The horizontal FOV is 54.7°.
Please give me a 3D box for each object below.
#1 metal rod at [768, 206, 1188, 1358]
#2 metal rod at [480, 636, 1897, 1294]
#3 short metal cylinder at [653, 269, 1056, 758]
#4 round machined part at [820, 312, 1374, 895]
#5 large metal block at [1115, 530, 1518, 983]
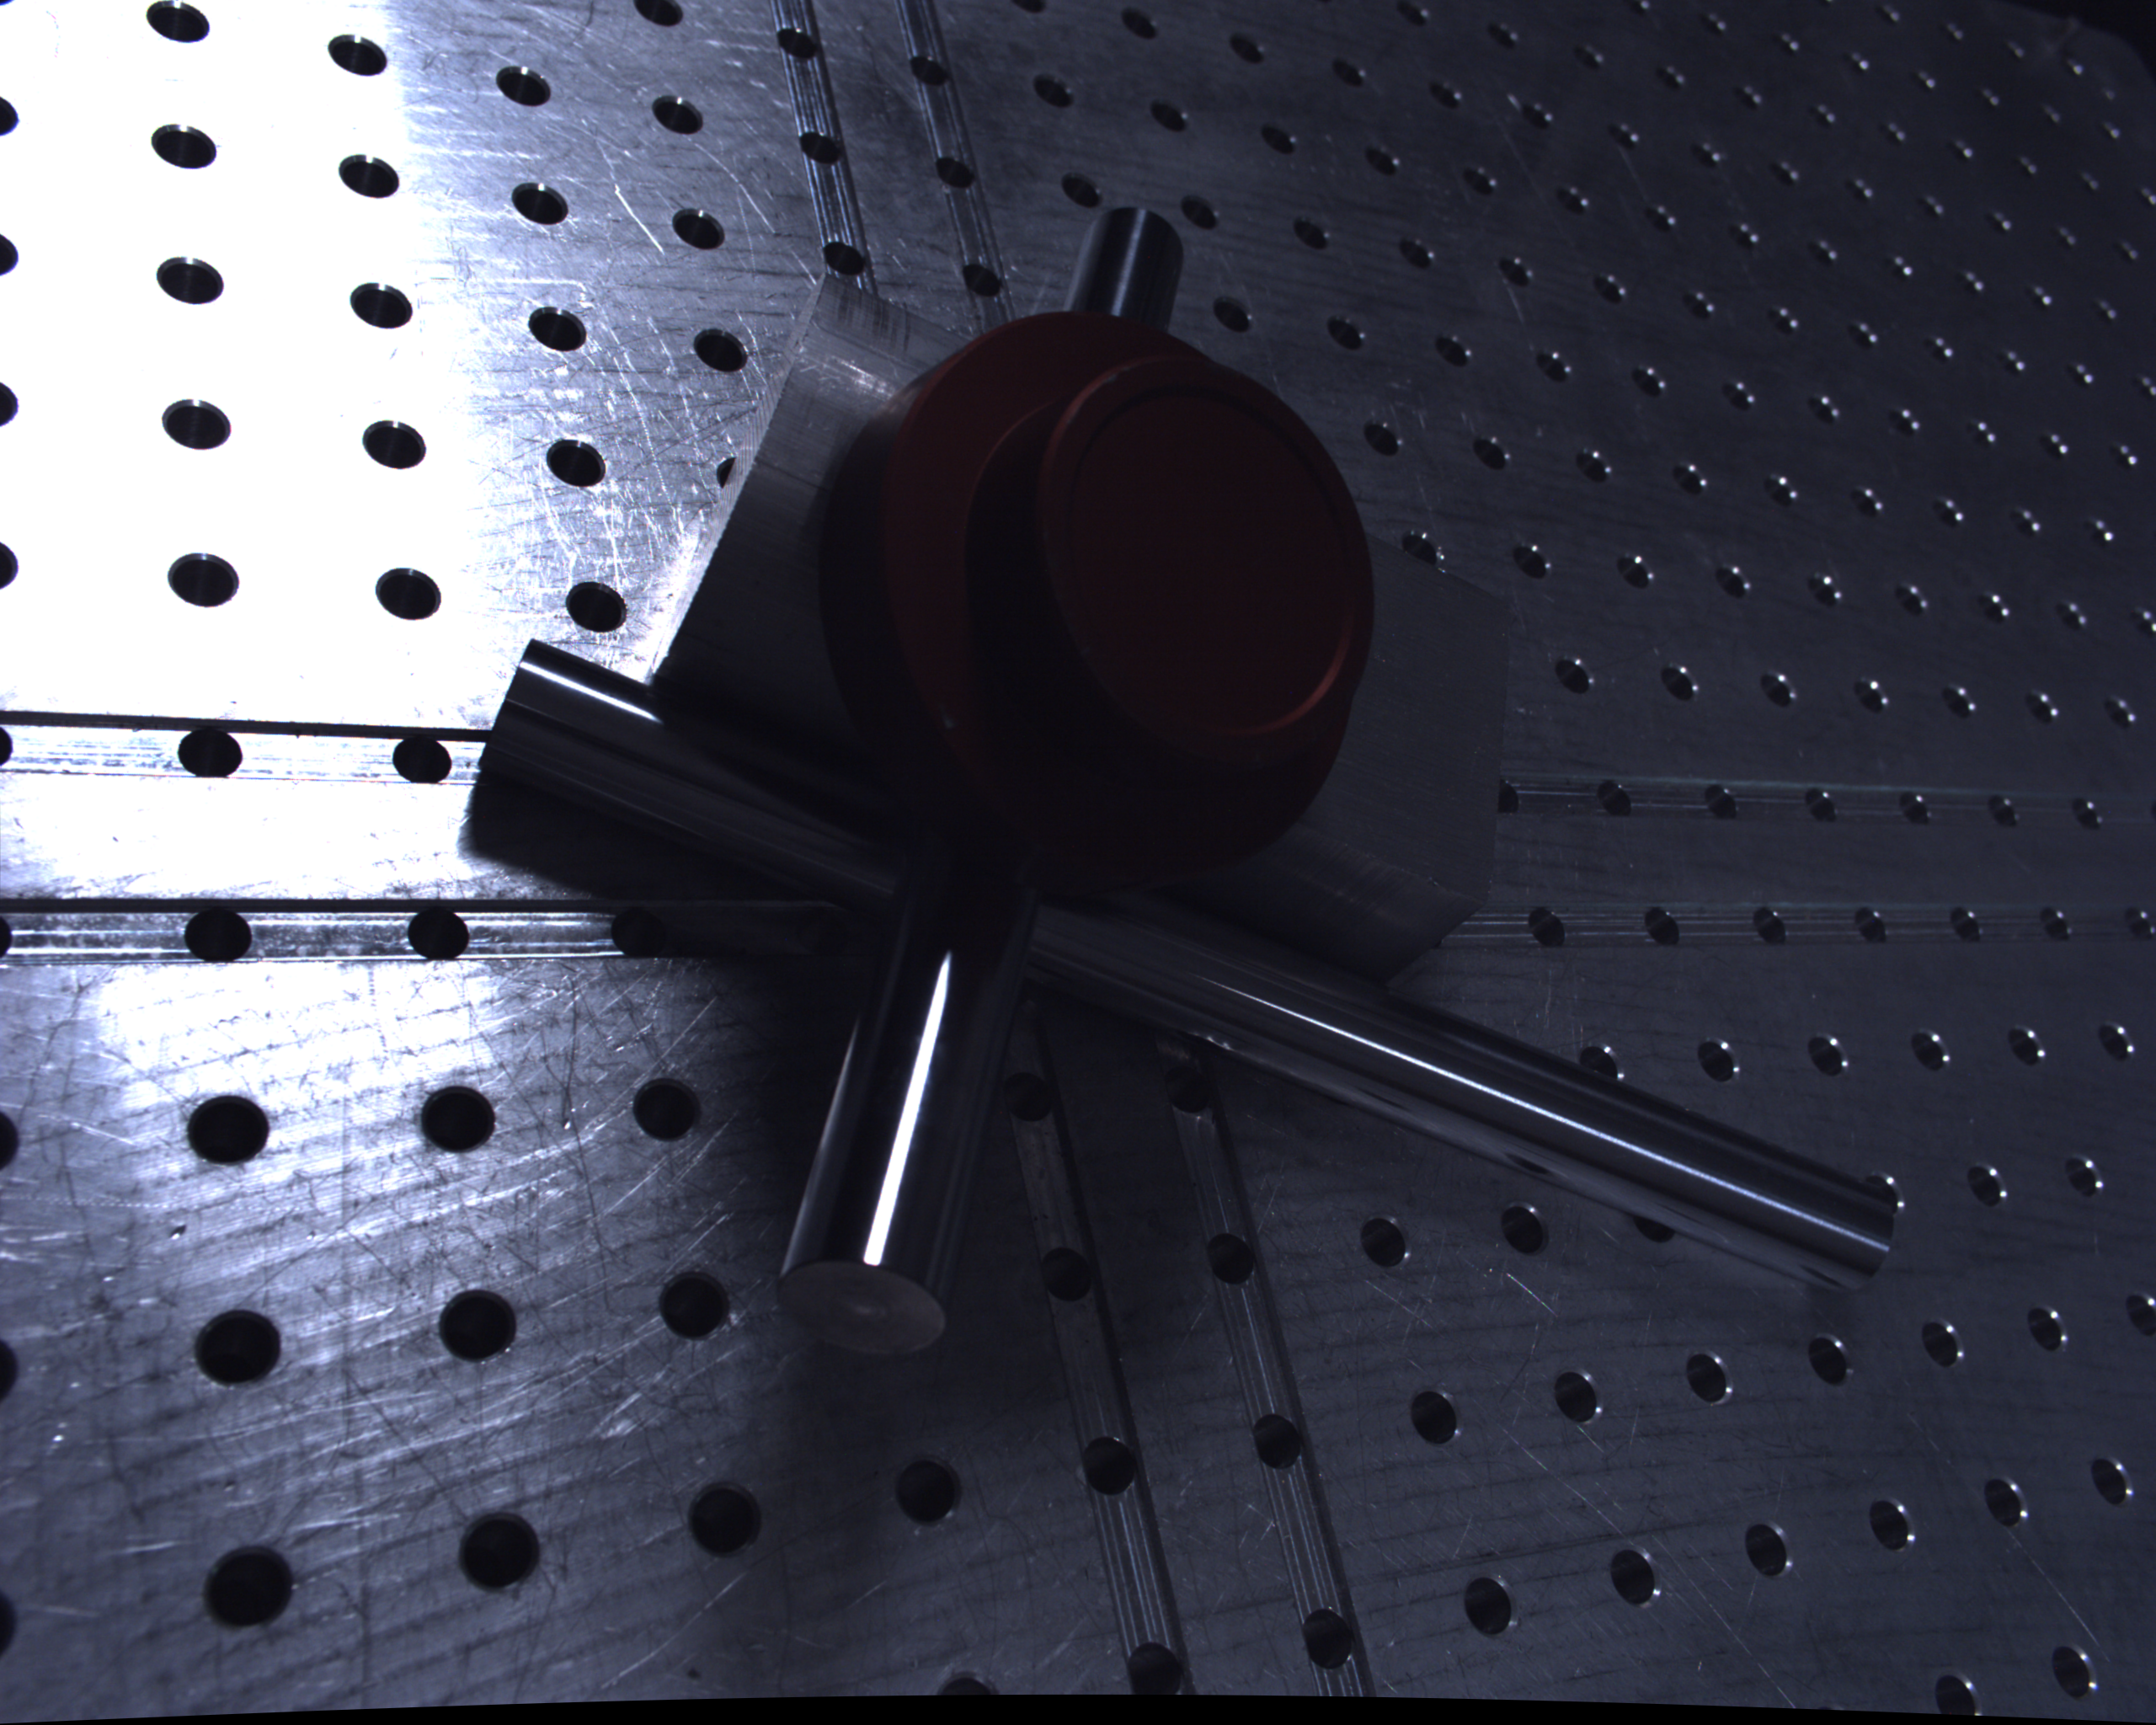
[{"bbox_3d":[-0.009,-0.042,0.405,0.025,0.025,0.300,25,45,-13],"label":"metal rod"},{"bbox_3d":[0.033,0.026,0.411,0.302,0.025,0.025,22,53,-15],"label":"metal rod"},{"bbox_3d":[-0.041,-0.063,0.389,0.050,0.080,0.080,23,53,-15],"label":"short metal cylinder"},{"bbox_3d":[0.010,-0.045,0.347,0.099,0.042,0.097,7,78,-34],"label":"round machined part"},{"bbox_3d":[0.040,-0.027,0.427,0.080,0.050,0.080,23,53,-15],"label":"large metal block"}]
